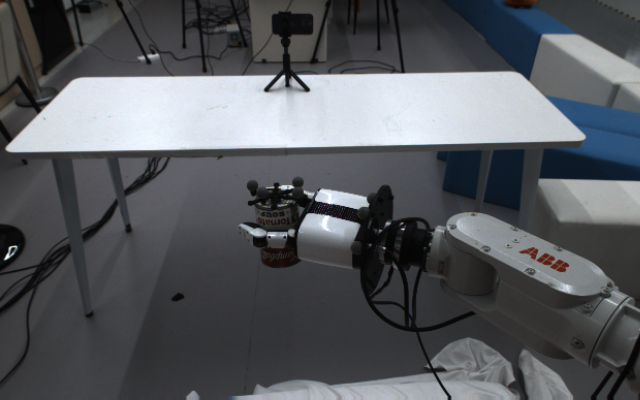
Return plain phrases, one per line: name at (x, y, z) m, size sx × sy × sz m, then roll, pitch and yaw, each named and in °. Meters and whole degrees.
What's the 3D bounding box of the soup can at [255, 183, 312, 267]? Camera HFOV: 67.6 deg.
soup can at (-0.061, 0.043, 0.738) m, size 0.067 × 0.101 × 0.067 m, roll -4°, pitch 26°, yaw 2°
